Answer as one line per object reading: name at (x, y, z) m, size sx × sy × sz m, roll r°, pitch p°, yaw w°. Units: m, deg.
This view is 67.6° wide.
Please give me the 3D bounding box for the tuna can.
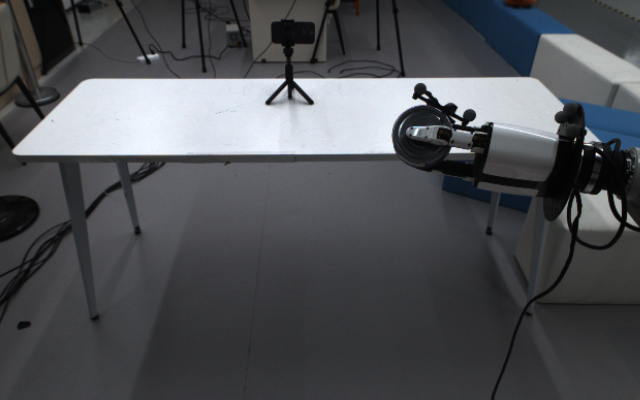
tuna can at (0.150, -0.084, 0.688) m, size 0.085 × 0.085 × 0.034 m, roll 13°, pitch -4°, yaw 15°
